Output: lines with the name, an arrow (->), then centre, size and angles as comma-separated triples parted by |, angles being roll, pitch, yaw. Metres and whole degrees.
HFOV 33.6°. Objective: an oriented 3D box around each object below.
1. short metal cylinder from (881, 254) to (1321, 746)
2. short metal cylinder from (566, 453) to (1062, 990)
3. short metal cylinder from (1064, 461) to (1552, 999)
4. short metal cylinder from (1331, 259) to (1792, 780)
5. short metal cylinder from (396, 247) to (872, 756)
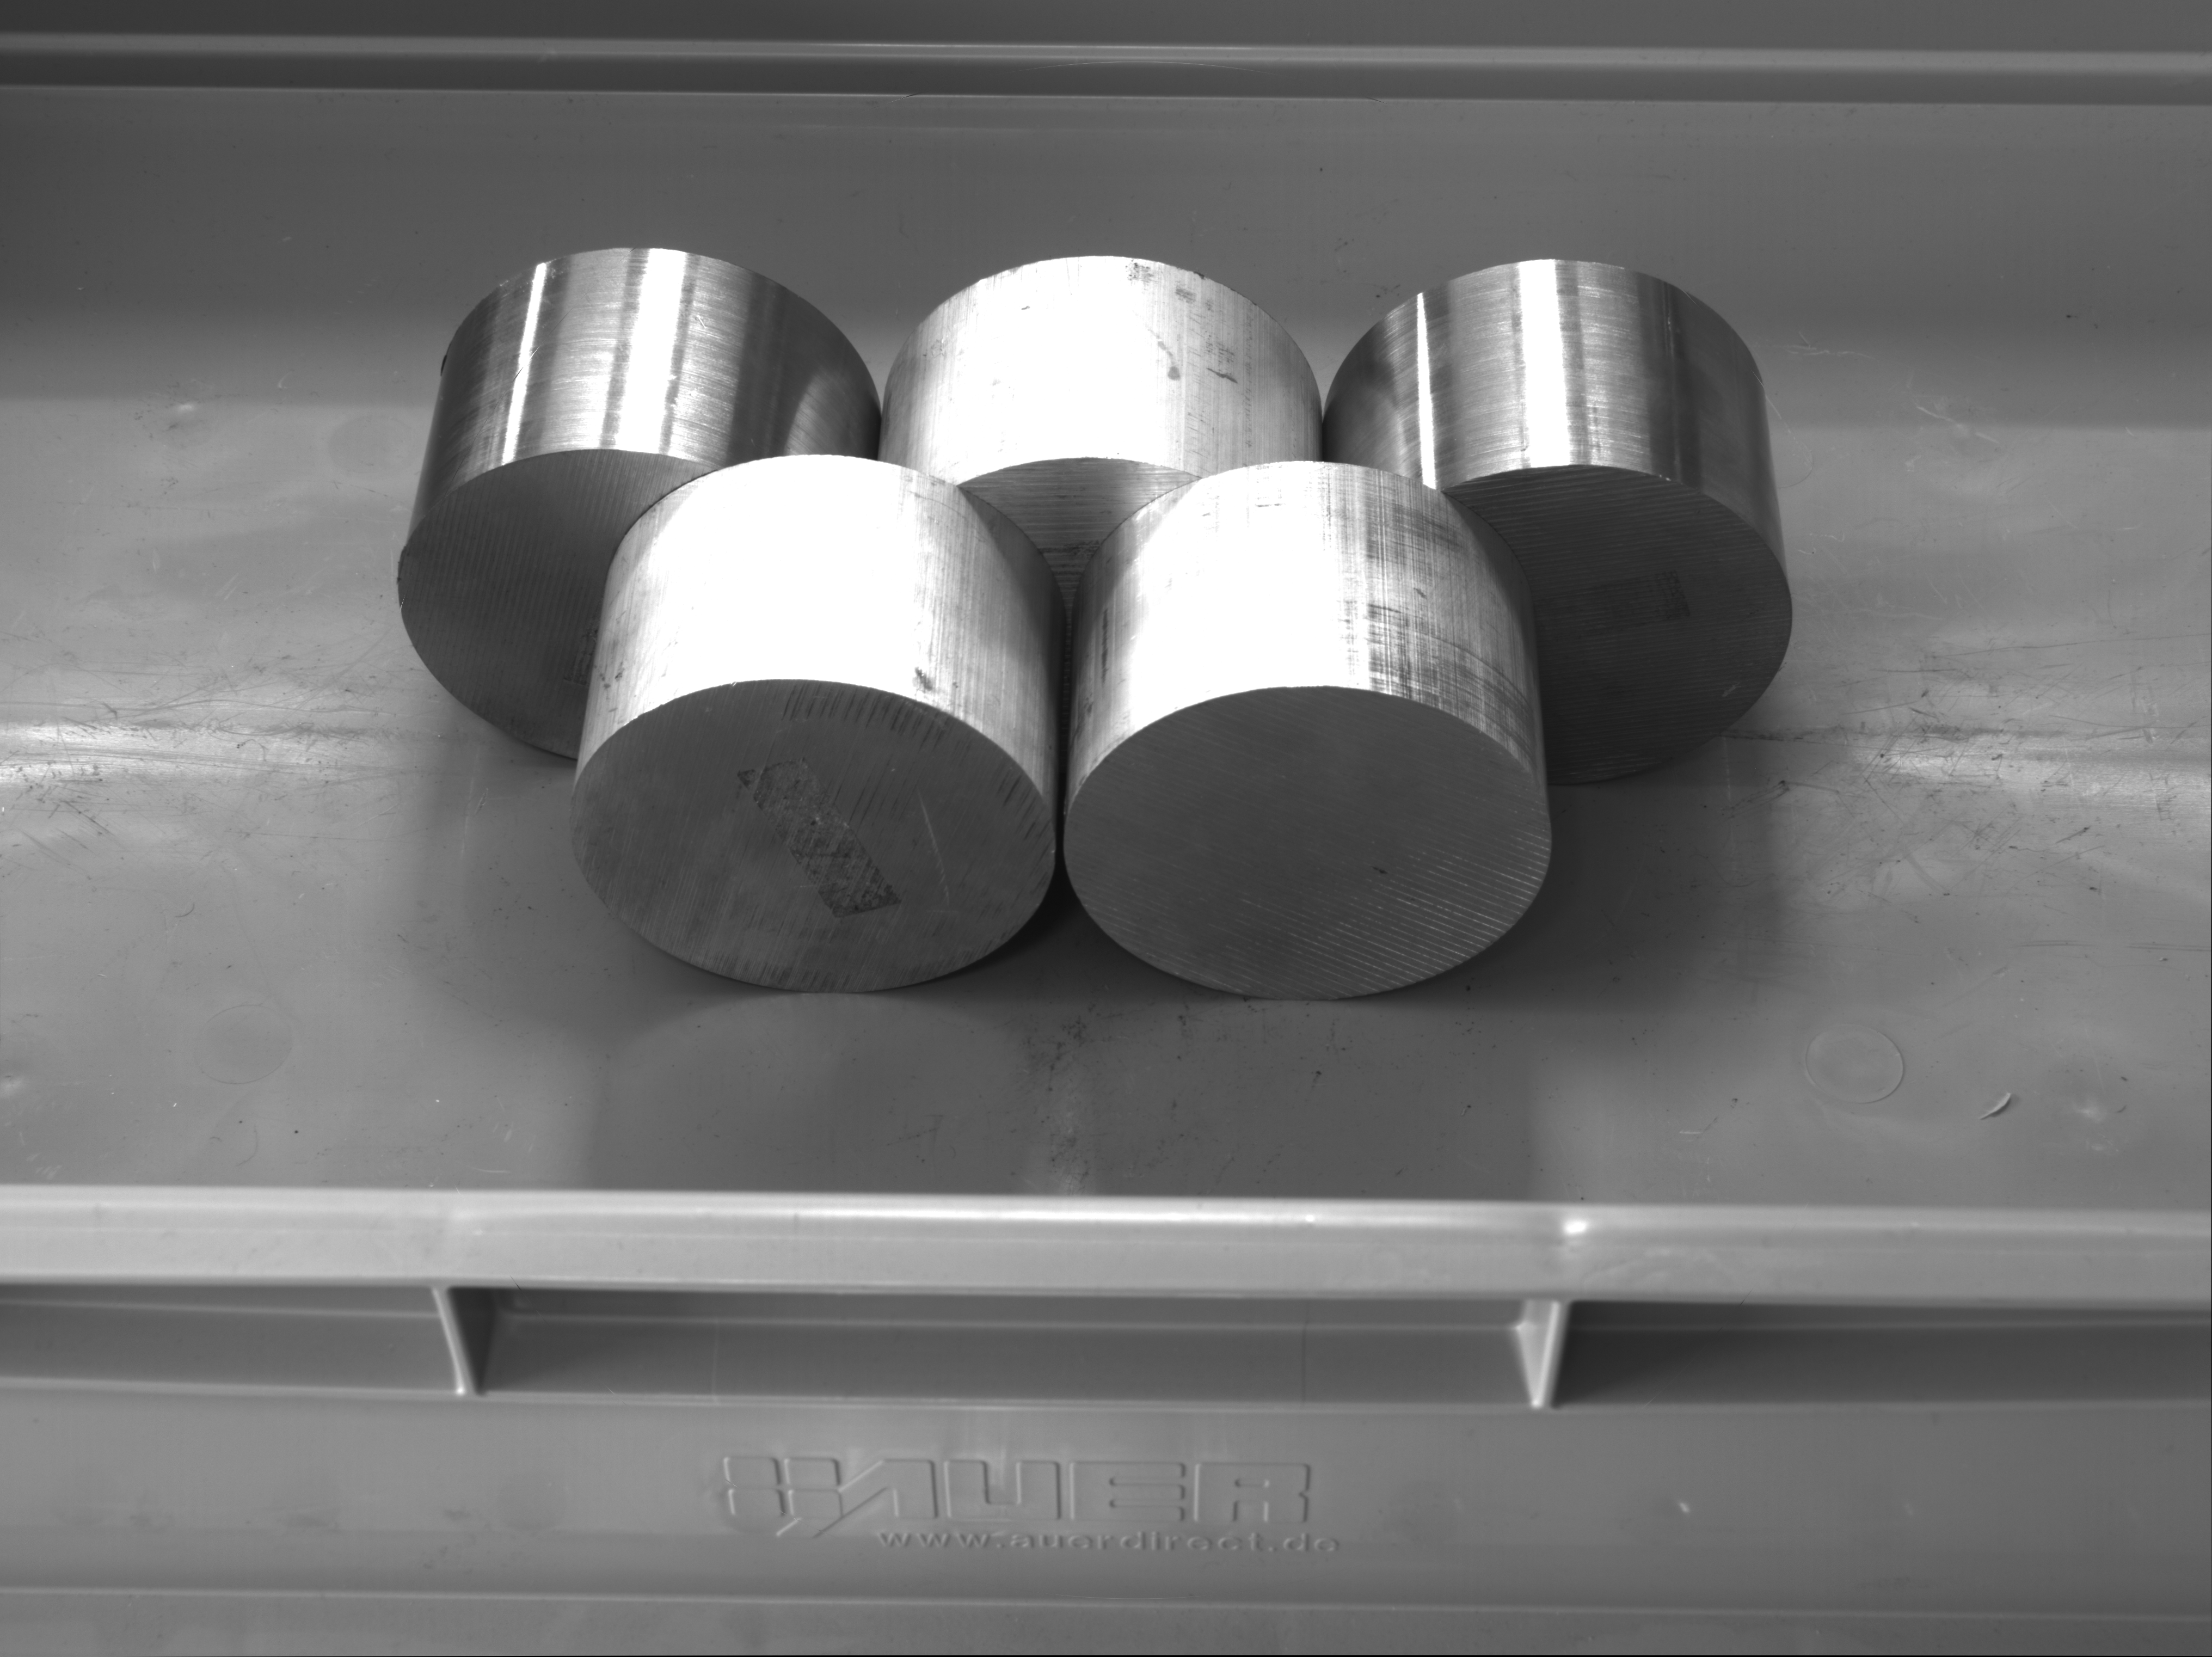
short metal cylinder -> -0.002, -0.055, 0.650 | 0.080, 0.080, 0.050 | 1, 50, 1
short metal cylinder -> -0.048, -0.017, 0.619 | 0.080, 0.080, 0.050 | 1, 50, 1
short metal cylinder -> 0.033, -0.016, 0.617 | 0.080, 0.080, 0.050 | 1, 50, 1
short metal cylinder -> 0.079, -0.054, 0.649 | 0.080, 0.080, 0.050 | 1, 50, 1
short metal cylinder -> -0.082, -0.056, 0.652 | 0.080, 0.080, 0.050 | 1, 50, 1
